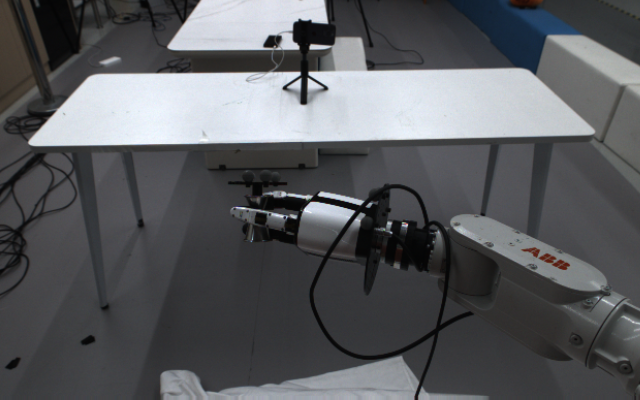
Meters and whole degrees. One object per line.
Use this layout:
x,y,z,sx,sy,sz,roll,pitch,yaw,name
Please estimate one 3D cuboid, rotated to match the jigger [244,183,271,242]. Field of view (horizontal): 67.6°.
-0.092,0.026,0.719,0.043,0.071,0.043,0,2,0,jigger
